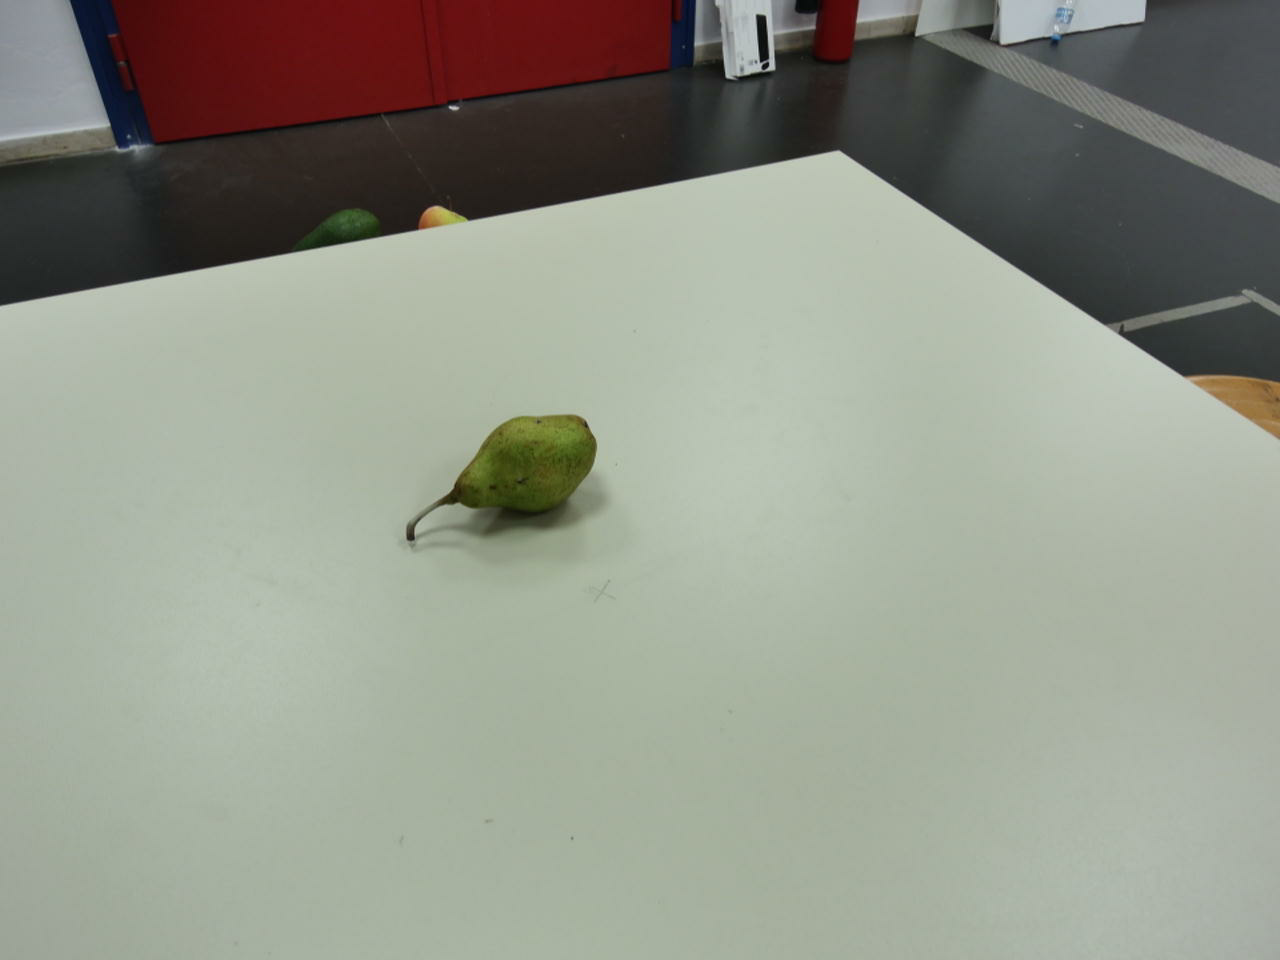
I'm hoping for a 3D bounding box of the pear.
[{"bbox_3d":[-0.079,-0.008,0.564,0.111,0.056,0.056,-6,39,-8],"label":"pear"}]
